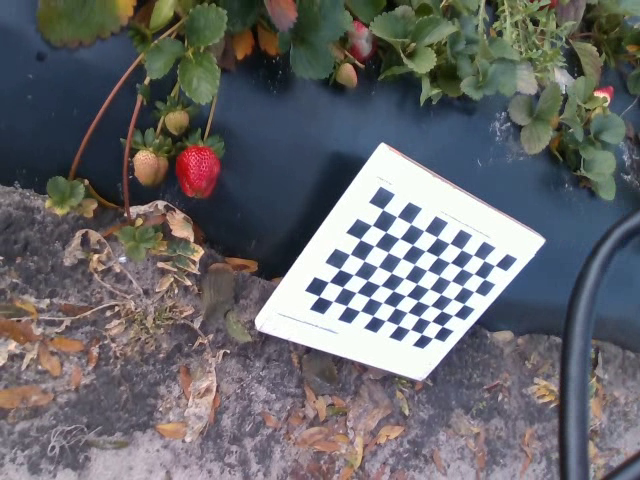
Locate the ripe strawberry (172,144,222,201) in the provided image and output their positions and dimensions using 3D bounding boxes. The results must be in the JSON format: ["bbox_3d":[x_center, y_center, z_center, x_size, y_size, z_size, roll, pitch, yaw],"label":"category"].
[{"bbox_3d":[-0.135,-0.074,0.618,0.067,0.074,0.052,5,31,-22],"label":"ripe strawberry"}]
